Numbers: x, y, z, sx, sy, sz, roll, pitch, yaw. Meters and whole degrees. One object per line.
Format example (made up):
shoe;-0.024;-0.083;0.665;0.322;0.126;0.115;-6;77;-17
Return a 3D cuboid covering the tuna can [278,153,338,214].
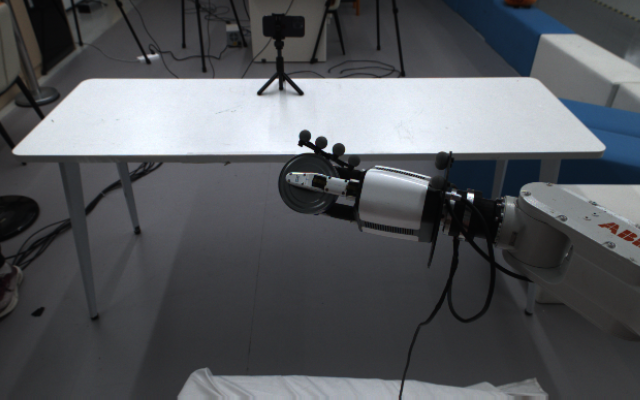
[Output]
tuna can;-0.013;-0.022;0.686;0.085;0.085;0.034;9;-5;10
